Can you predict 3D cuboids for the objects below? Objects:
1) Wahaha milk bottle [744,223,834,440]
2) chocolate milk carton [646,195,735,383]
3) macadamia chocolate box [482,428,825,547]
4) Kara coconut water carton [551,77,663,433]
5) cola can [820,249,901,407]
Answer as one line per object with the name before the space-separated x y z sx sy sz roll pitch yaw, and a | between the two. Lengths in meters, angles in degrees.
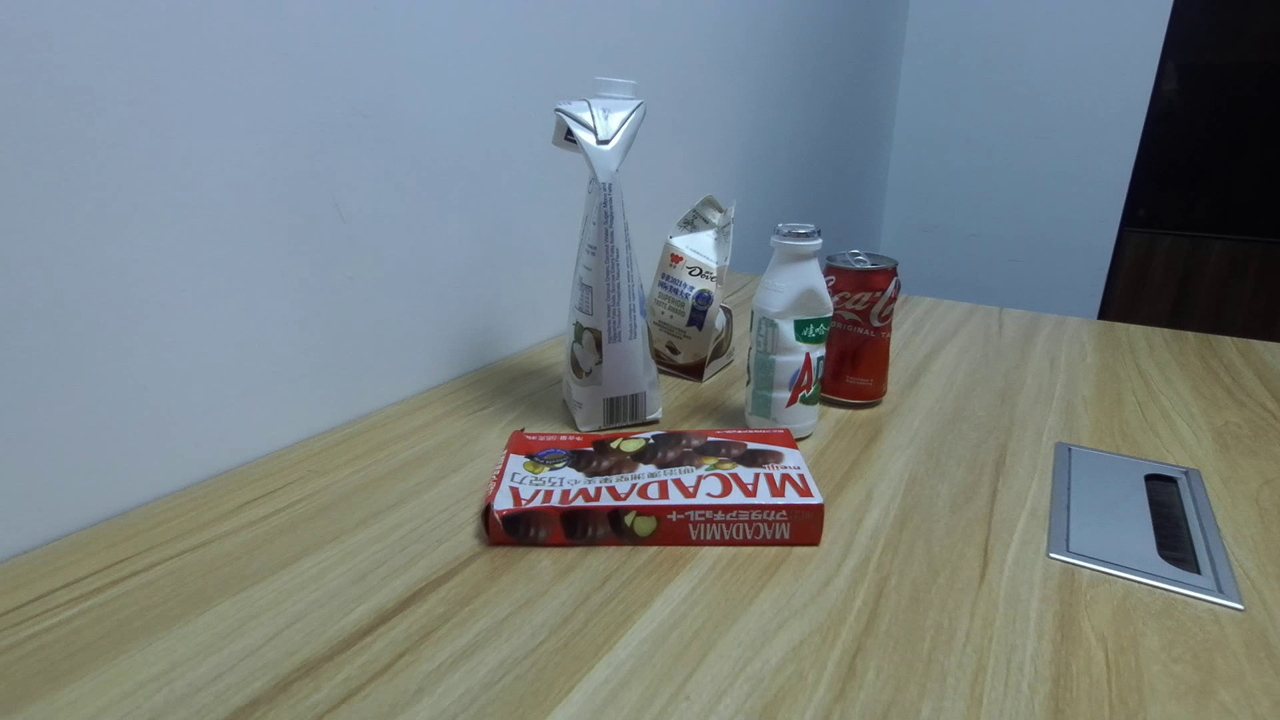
Wahaha milk bottle | 0.102 -0.019 0.485 0.056 0.147 0.056 2 21 0
chocolate milk carton | 0.051 -0.063 0.620 0.076 0.155 0.089 14 7 24
macadamia chocolate box | 0.007 0.071 0.412 0.183 0.028 0.105 0 19 0
Kara coconut water carton | -0.025 -0.073 0.500 0.069 0.238 0.115 -6 17 -13
cola can | 0.170 -0.026 0.565 0.066 0.117 0.066 10 22 25
